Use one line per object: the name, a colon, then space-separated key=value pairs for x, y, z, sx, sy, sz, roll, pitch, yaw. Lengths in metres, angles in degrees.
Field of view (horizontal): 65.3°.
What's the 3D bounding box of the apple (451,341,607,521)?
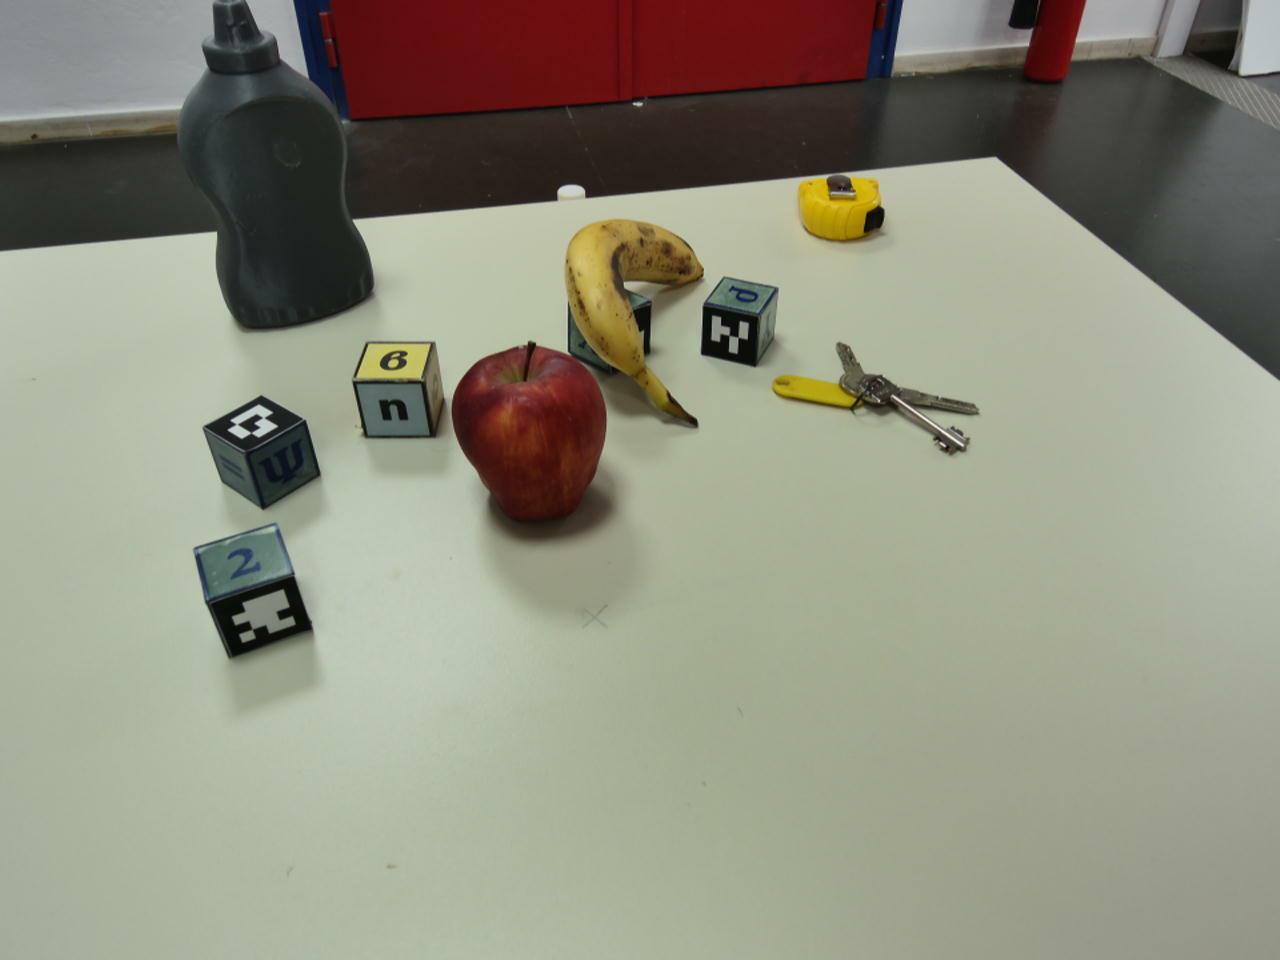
apple: x=-0.056 y=-0.029 z=0.506 sx=0.083 sy=0.090 sz=0.083 roll=0 pitch=39 yaw=0
